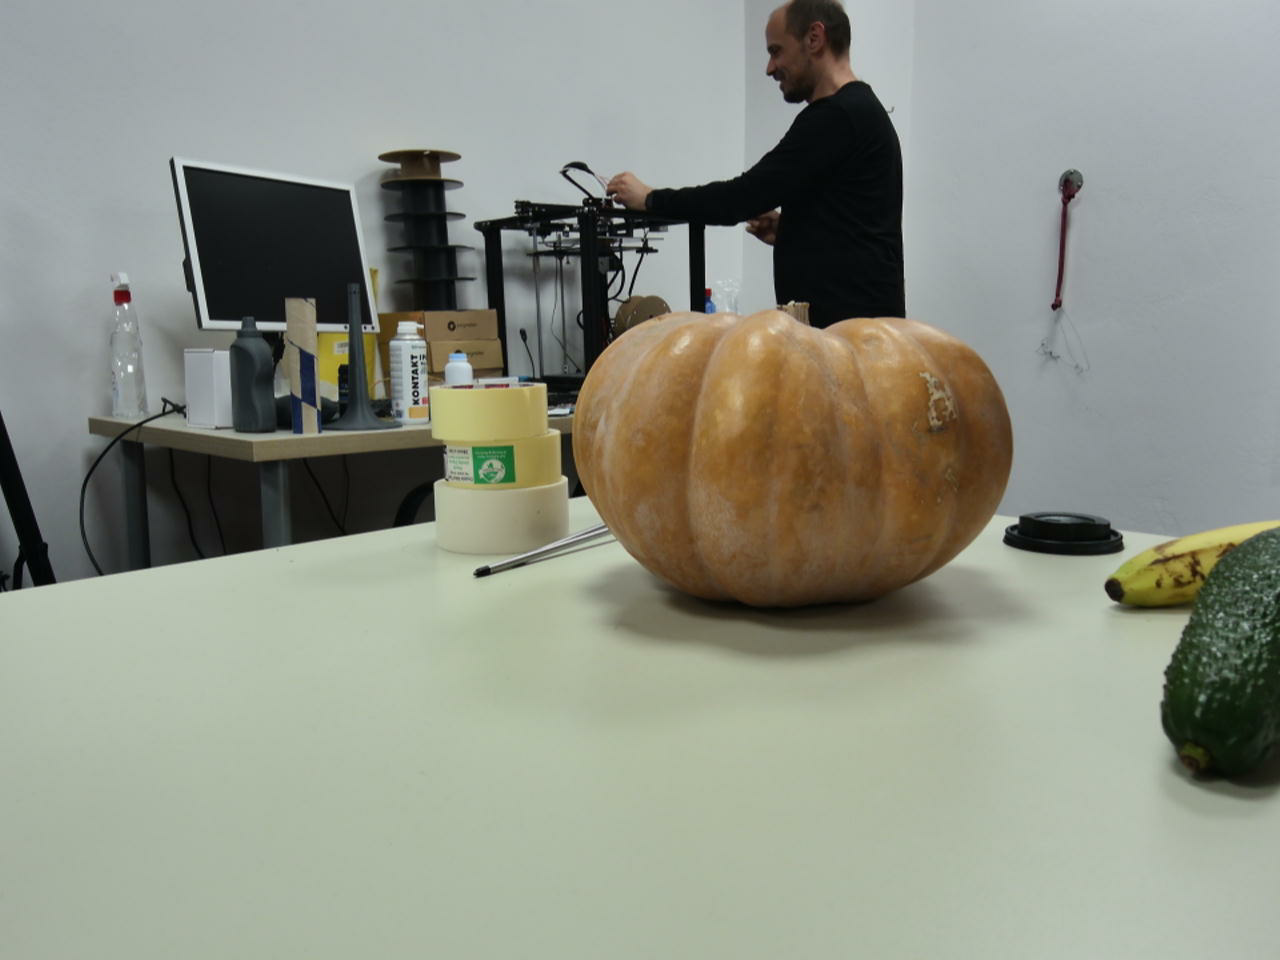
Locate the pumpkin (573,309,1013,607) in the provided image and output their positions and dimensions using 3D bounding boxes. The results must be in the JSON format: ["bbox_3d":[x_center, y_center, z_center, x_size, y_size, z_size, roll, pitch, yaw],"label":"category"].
[{"bbox_3d":[0.088,-0.018,0.634,0.277,0.181,0.277,1,6,0],"label":"pumpkin"}]
